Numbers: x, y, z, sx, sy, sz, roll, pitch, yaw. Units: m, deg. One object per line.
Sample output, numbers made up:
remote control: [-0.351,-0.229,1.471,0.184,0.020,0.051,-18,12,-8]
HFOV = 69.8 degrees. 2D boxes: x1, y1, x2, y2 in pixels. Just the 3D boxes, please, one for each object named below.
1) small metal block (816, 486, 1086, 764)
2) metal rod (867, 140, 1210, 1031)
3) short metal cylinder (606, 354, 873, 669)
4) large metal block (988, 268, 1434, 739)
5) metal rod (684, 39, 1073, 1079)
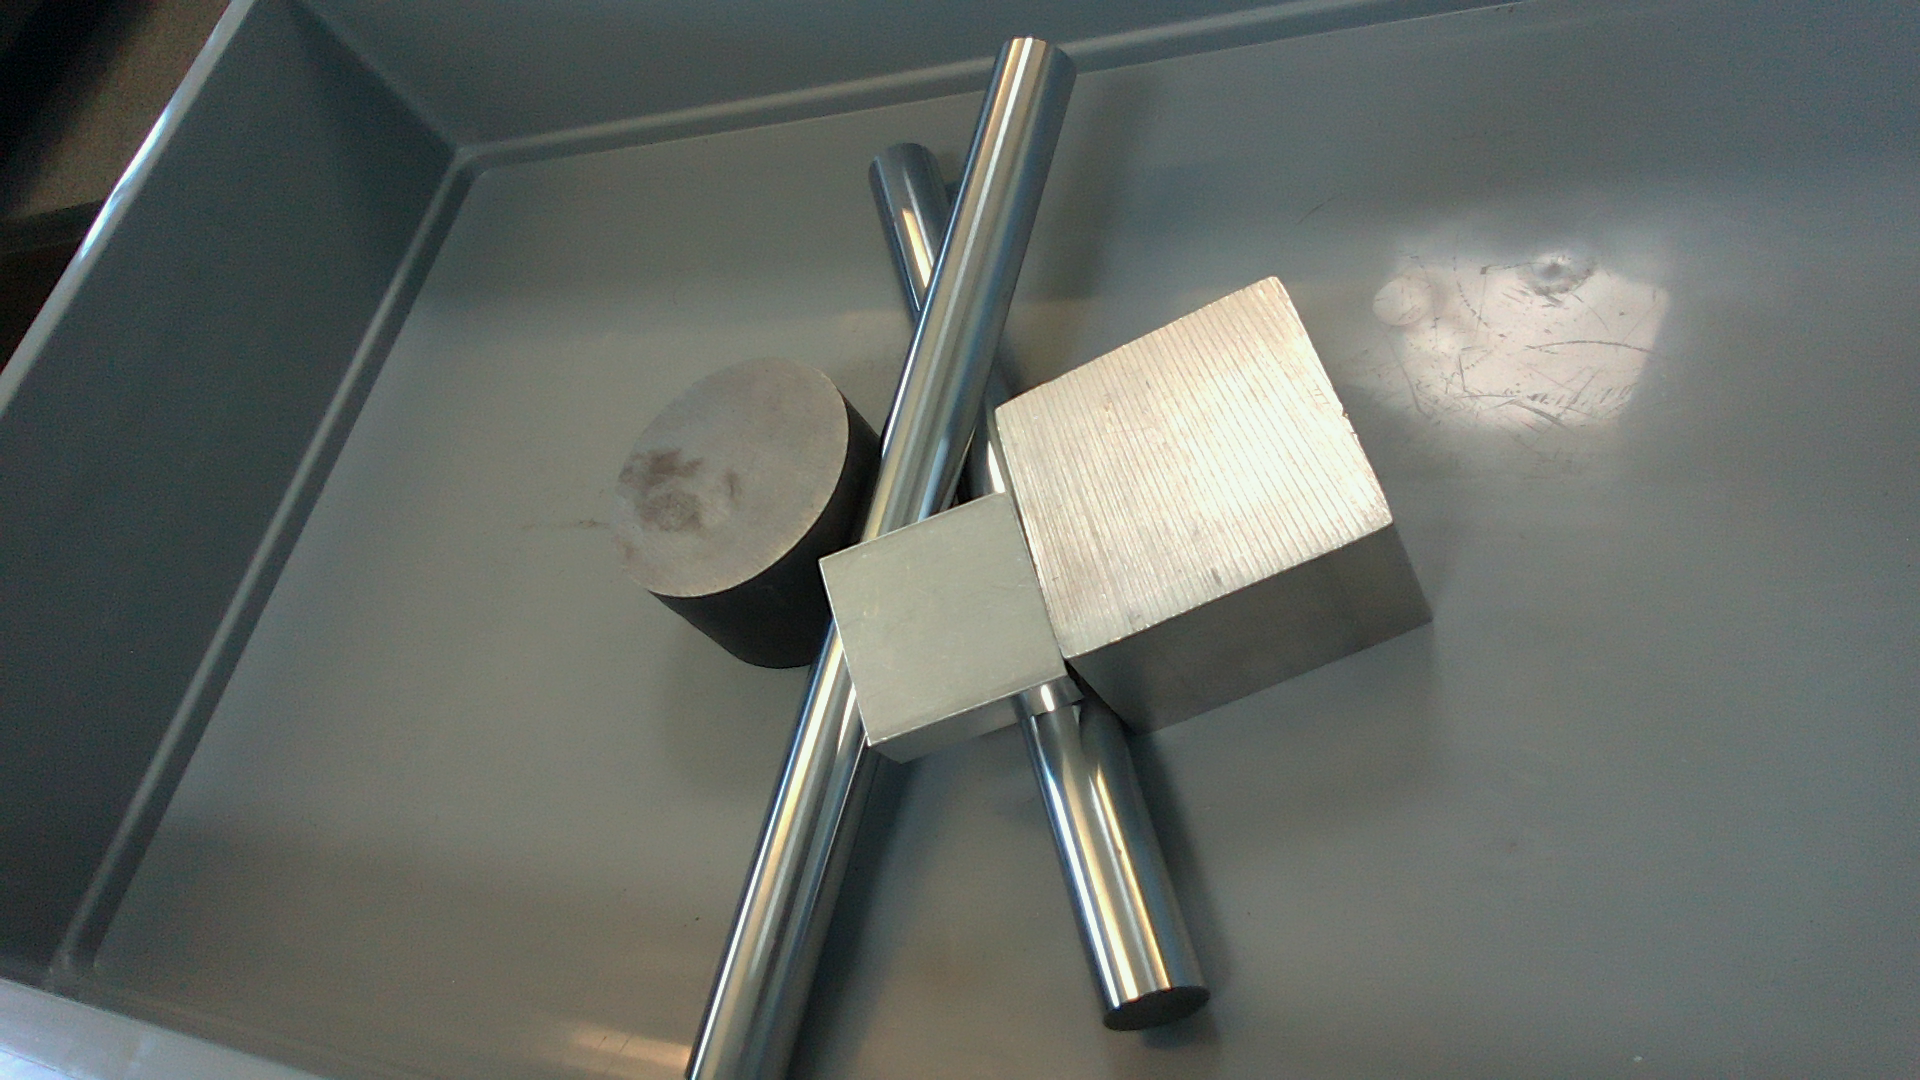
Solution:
small metal block: [-0.002,0.022,0.339,0.050,0.025,0.050,-20,68,6]
metal rod: [0.012,-0.013,0.394,0.025,0.025,0.300,-25,53,13]
short metal cylinder: [-0.058,-0.008,0.412,0.080,0.050,0.080,-13,56,21]
large metal block: [0.061,-0.008,0.347,0.080,0.050,0.080,-24,53,13]
metal rod: [-0.017,-0.004,0.378,0.025,0.025,0.300,6,72,31]
